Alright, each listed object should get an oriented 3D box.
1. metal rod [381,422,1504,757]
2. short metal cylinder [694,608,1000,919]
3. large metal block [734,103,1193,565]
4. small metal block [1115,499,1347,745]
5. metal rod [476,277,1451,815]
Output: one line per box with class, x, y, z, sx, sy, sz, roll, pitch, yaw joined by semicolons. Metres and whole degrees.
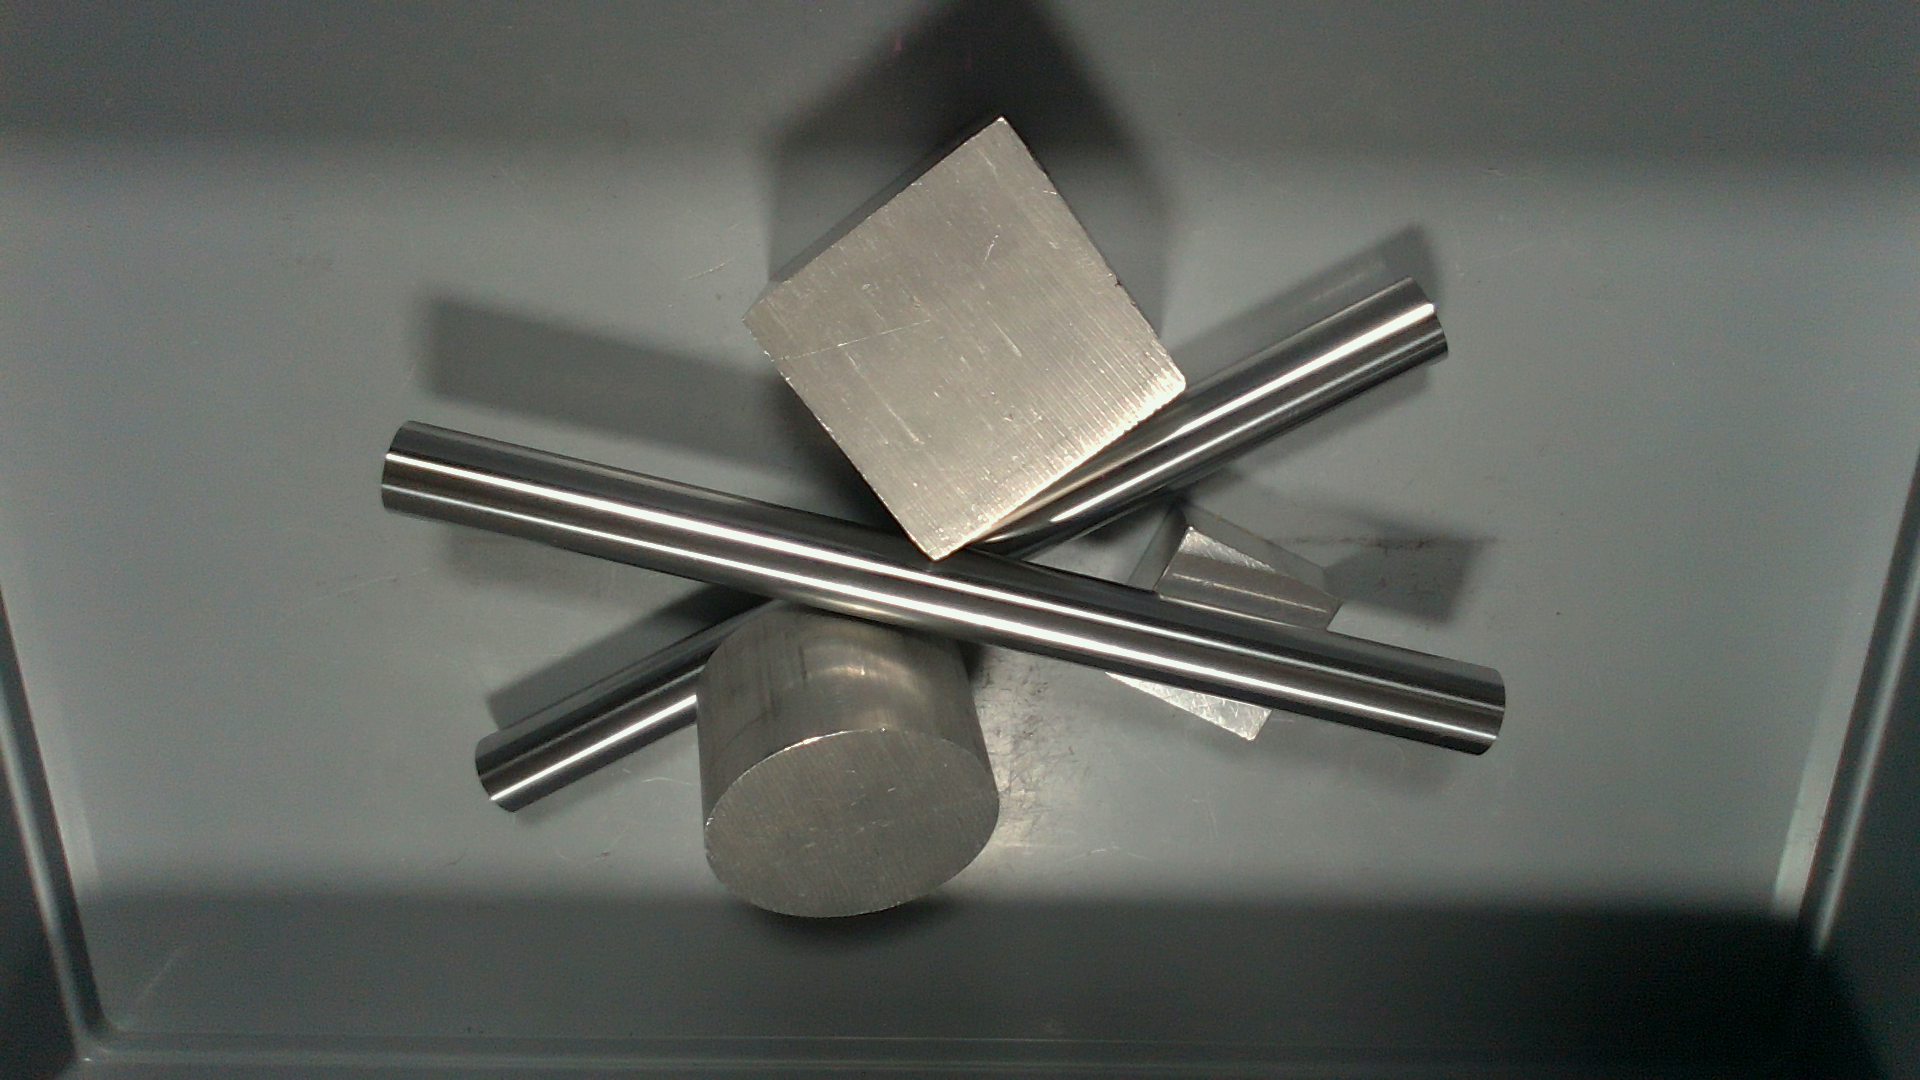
metal rod;0.000;0.015;0.371;0.300;0.025;0.025;13;110;-5
short metal cylinder;-0.033;0.062;0.387;0.080;0.050;0.080;-8;133;-8
large metal block;0.001;-0.055;0.359;0.080;0.050;0.080;-34;107;12
small metal block;0.075;0.024;0.400;0.050;0.025;0.050;25;108;-9
metal rod;-0.006;0.006;0.394;0.300;0.025;0.025;-26;108;9
